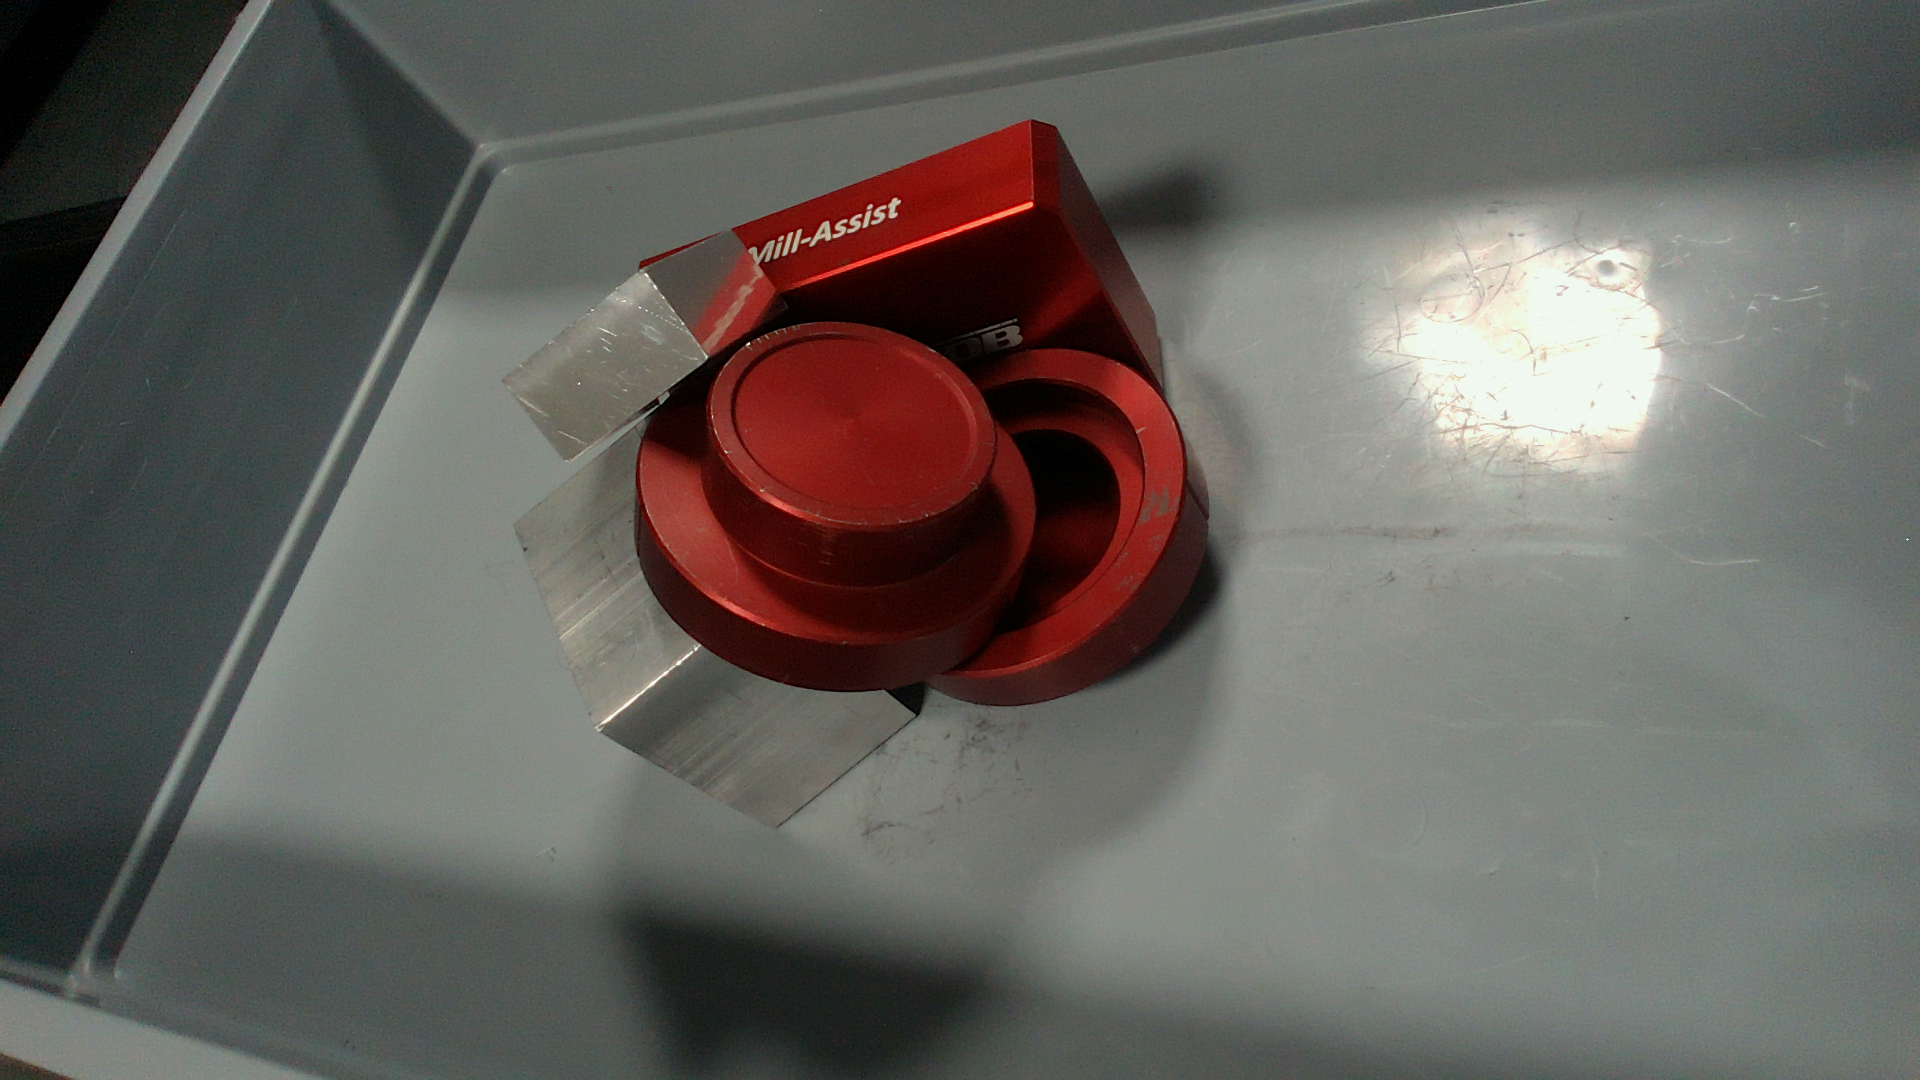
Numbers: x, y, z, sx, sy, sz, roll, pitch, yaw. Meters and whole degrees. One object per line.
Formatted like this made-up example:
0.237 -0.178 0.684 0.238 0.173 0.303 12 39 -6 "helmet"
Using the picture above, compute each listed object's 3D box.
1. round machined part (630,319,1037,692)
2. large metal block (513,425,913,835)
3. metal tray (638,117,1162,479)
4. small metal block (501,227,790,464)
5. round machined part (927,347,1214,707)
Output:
-0.029 -0.015 0.331 0.098 0.042 0.098 9 48 -9 "round machined part"
-0.068 0.023 0.380 0.050 0.080 0.080 -38 51 3 "large metal block"
-0.018 -0.060 0.396 0.130 0.090 0.030 -14 56 21 "metal tray"
-0.077 -0.050 0.345 0.050 0.025 0.050 -31 11 25 "small metal block"
0.021 0.000 0.372 0.098 0.042 0.098 -13 56 21 "round machined part"
